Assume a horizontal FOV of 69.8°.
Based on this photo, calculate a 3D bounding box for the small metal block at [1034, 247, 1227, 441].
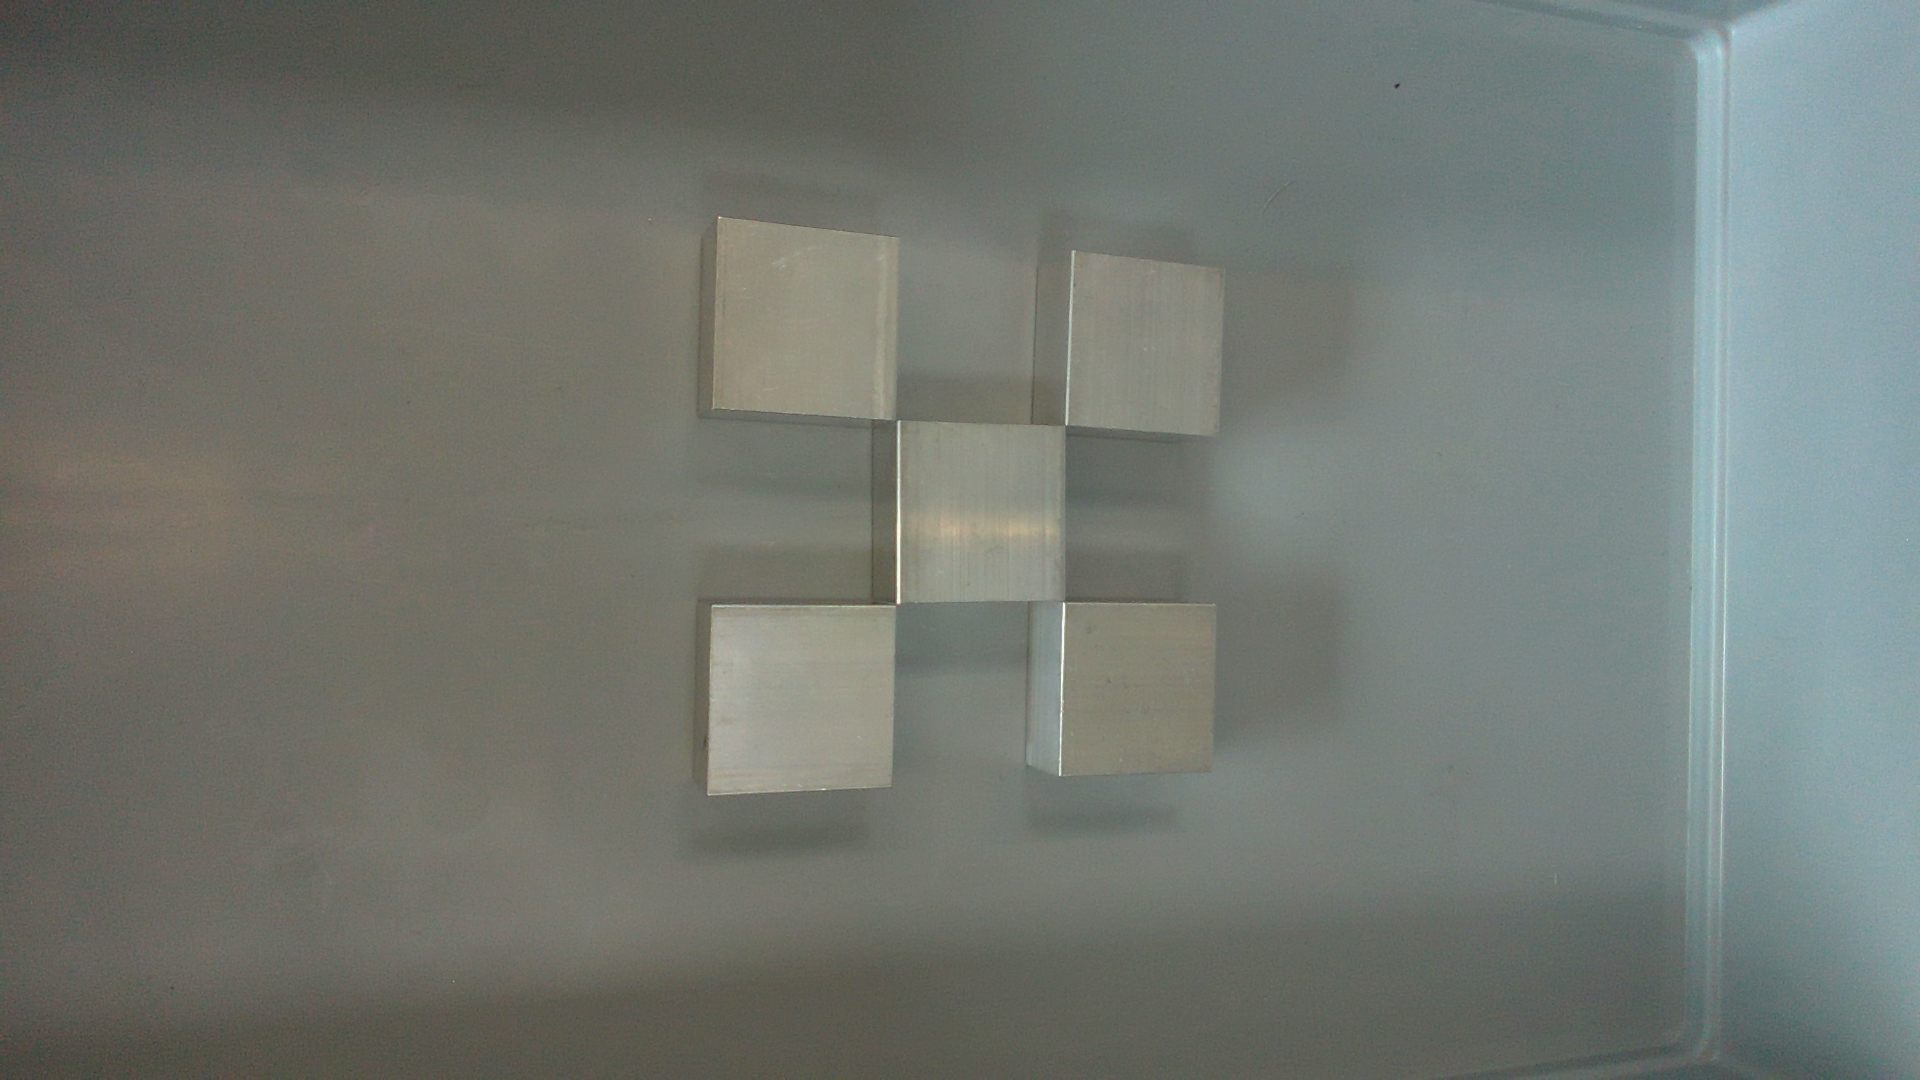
[{"bbox_3d":[0.050,-0.057,0.409,0.050,0.025,0.050,3,89,-20],"label":"small metal block"}]

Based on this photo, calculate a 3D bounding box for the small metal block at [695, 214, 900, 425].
[{"bbox_3d":[-0.045,-0.059,0.375,0.050,0.025,0.050,2,90,-20],"label":"small metal block"}]

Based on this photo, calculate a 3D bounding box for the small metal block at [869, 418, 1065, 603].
[{"bbox_3d":[0.002,-0.008,0.392,0.050,0.025,0.050,0,90,-20],"label":"small metal block"}]

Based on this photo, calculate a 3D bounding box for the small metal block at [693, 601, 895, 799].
[{"bbox_3d":[-0.046,0.042,0.375,0.050,0.025,0.050,1,90,-20],"label":"small metal block"}]

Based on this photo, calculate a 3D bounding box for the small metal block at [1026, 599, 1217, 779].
[{"bbox_3d":[0.048,0.043,0.409,0.050,0.025,0.050,1,90,-20],"label":"small metal block"}]
